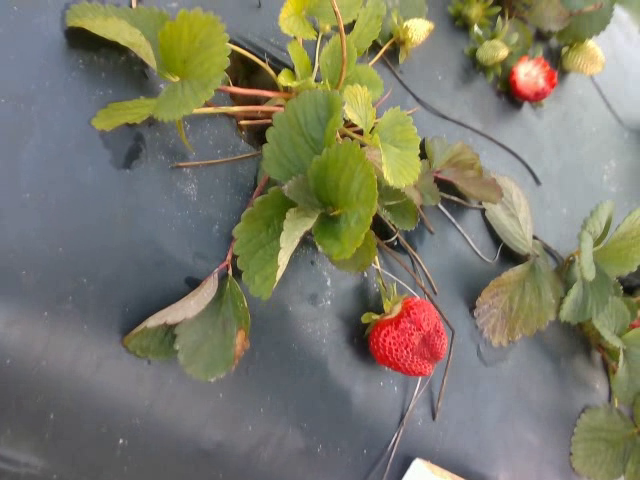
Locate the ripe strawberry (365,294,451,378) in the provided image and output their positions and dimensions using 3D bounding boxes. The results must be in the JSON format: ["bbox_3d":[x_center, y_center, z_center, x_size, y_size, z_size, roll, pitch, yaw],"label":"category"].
[{"bbox_3d":[0.015,0.018,0.109,0.017,0.015,0.014,-37,-24,-6],"label":"ripe strawberry"}]
